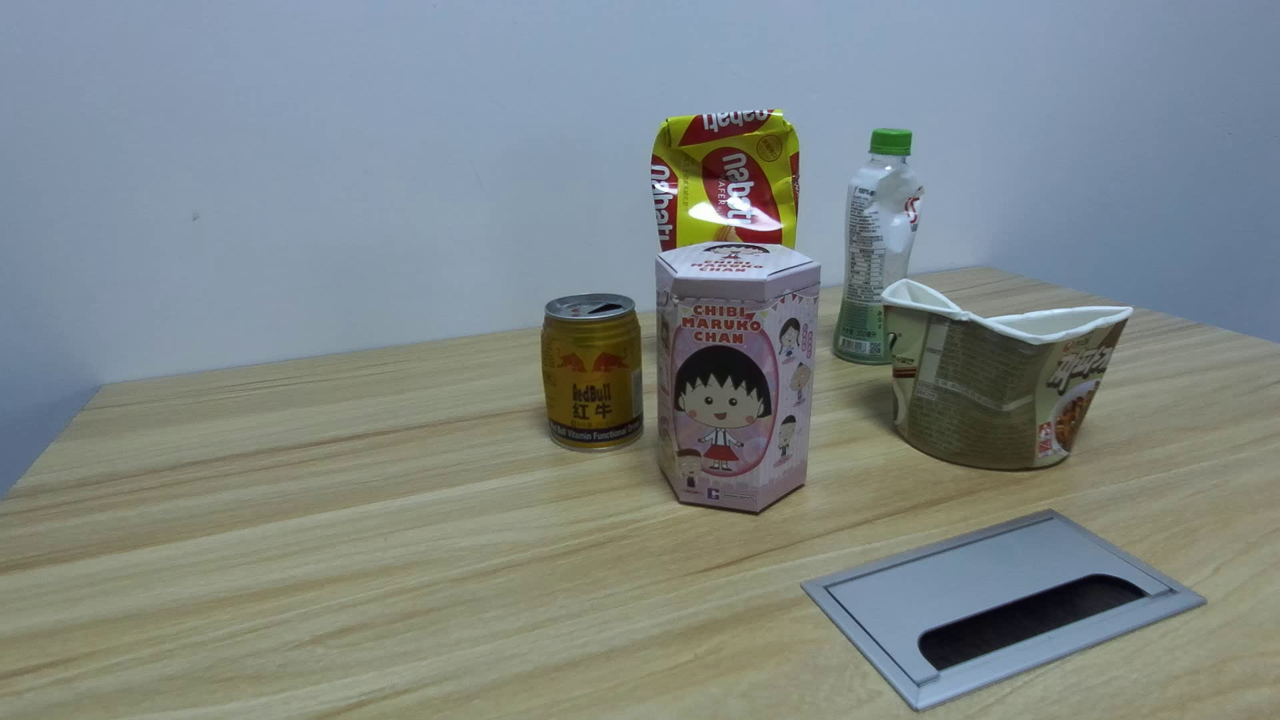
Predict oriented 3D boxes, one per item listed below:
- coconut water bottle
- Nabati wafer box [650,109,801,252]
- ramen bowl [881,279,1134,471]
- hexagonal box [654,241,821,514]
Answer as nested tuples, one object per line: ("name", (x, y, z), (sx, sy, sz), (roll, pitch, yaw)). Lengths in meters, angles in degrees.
("coconut water bottle", (0.200, -0.093, 0.588), (0.069, 0.187, 0.069), (1, 19, 0))
("Nabati wafer box", (0.070, -0.087, 0.559), (0.113, 0.205, 0.042), (-5, 23, -2))
("ramen bowl", (0.224, 0.003, 0.466), (0.112, 0.093, 0.127), (-16, 26, -32))
("hexagonal box", (0.053, 0.008, 0.404), (0.091, 0.136, 0.084), (5, 21, 16))
